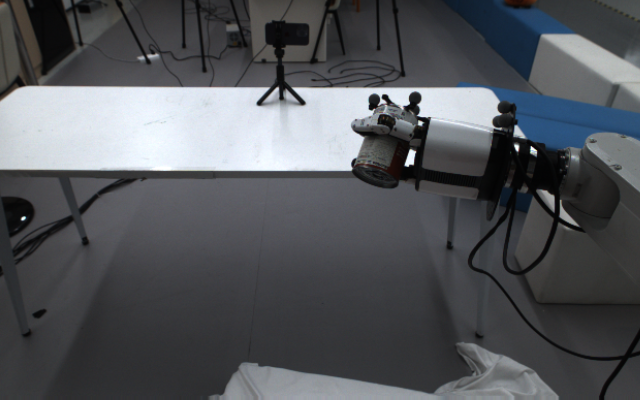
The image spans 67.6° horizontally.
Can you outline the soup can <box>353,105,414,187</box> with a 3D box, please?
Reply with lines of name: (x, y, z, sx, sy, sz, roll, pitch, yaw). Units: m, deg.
soup can: (0.093, -0.078, 0.686, 0.067, 0.067, 0.101, 16, 75, 19)
